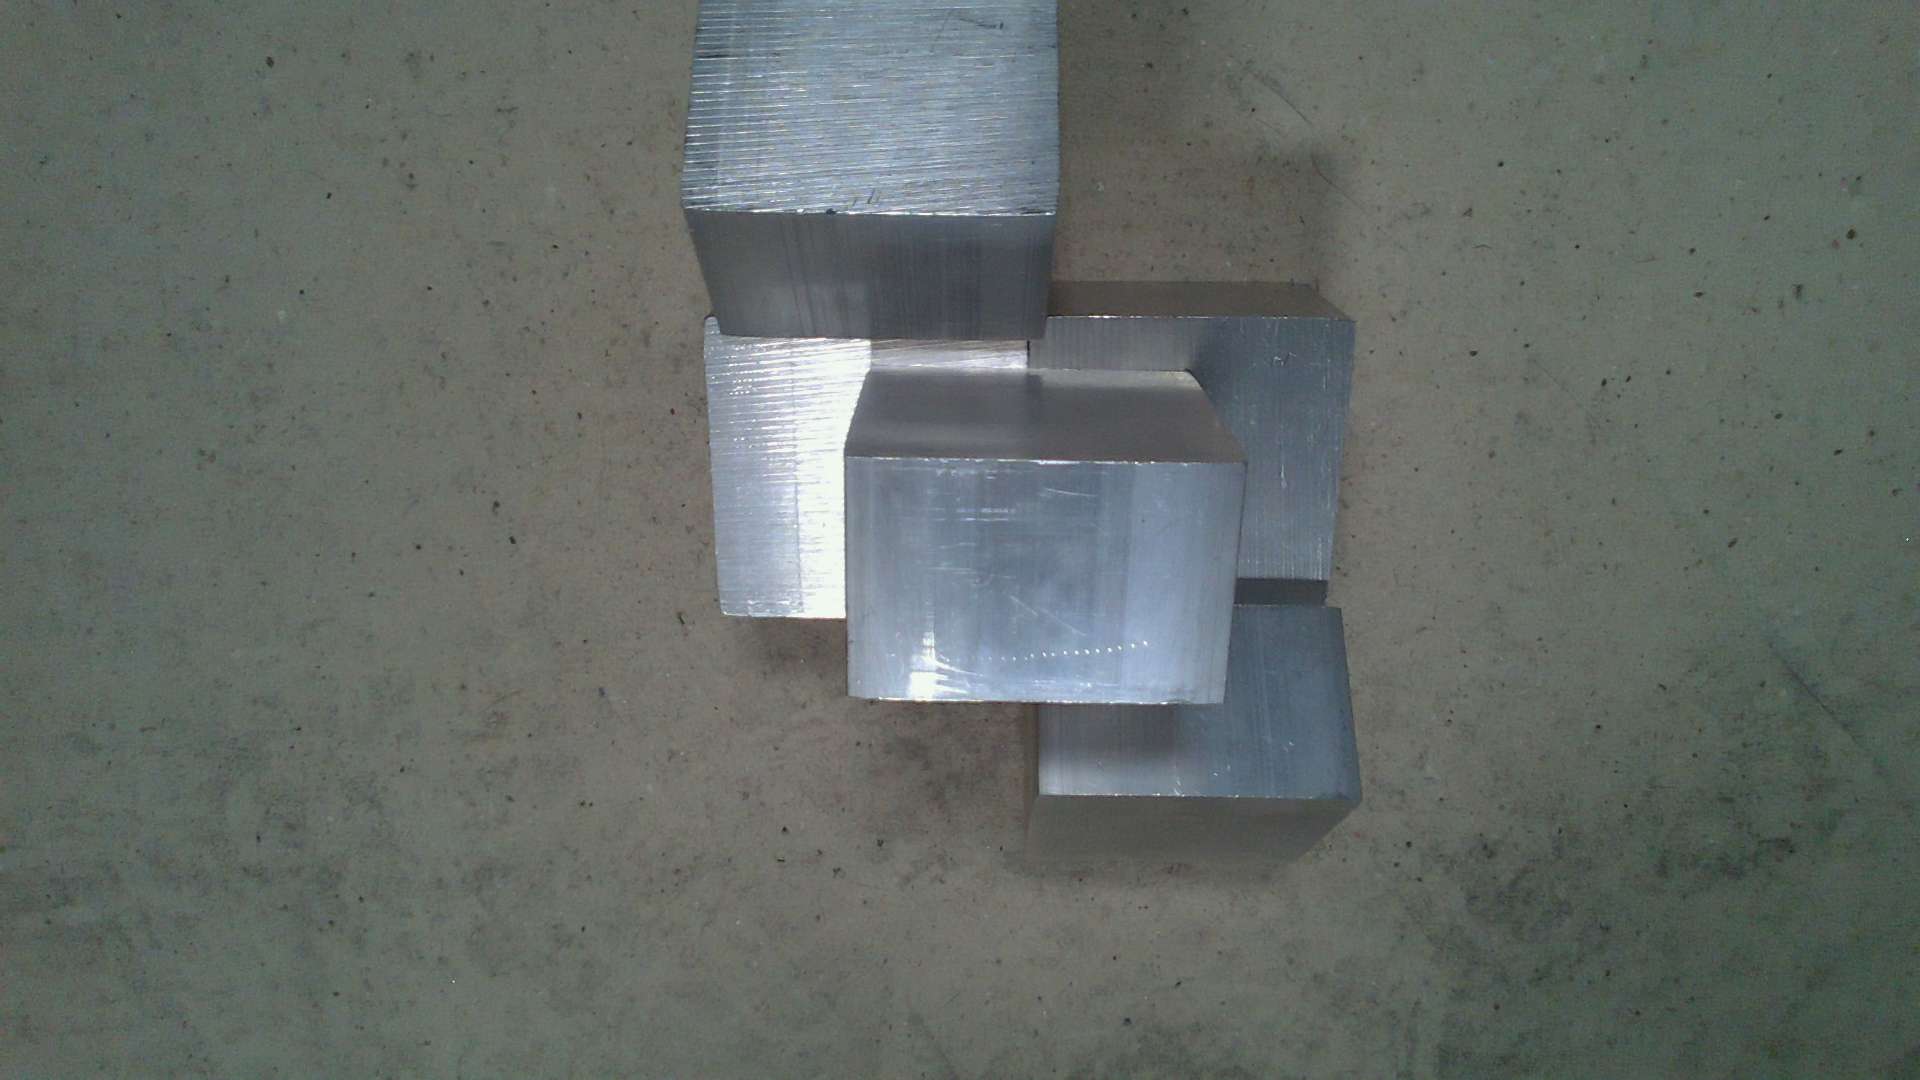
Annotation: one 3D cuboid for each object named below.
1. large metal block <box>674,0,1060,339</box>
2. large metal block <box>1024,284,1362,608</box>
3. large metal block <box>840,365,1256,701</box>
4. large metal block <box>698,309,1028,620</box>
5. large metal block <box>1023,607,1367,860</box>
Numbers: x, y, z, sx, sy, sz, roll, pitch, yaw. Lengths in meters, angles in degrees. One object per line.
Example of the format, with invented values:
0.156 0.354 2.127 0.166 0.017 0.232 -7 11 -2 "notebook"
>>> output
-0.019 -0.095 0.323 0.080 0.050 0.080 1 66 0 "large metal block"
0.057 -0.025 0.370 0.080 0.050 0.080 1 110 0 "large metal block"
0.017 -0.005 0.310 0.080 0.080 0.050 1 110 0 "large metal block"
-0.024 -0.025 0.370 0.080 0.050 0.080 1 110 0 "large metal block"
0.058 0.056 0.379 0.080 0.080 0.050 0 66 0 "large metal block"
